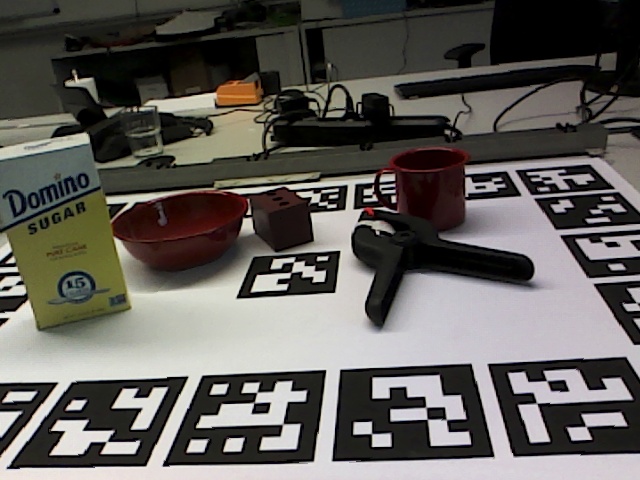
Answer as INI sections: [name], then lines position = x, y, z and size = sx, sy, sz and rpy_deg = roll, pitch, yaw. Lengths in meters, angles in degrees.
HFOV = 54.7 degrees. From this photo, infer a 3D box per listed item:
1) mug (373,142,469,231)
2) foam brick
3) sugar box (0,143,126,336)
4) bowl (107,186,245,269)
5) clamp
[mug]
position = 0.119, -0.066, 0.749
size = 0.118, 0.081, 0.093
rpy_deg = 13, 32, 27
[foam brick]
position = -0.049, -0.024, 0.756
size = 0.052, 0.051, 0.078
rpy_deg = -17, 29, -18
[sugar box]
position = -0.255, 0.001, 0.605
size = 0.092, 0.176, 0.045
rpy_deg = -14, 29, -17
[bowl]
position = -0.167, -0.011, 0.741
size = 0.162, 0.055, 0.162
rpy_deg = -5, 27, 2
[clamp]
position = 0.080, 0.011, 0.647
size = 0.165, 0.036, 0.204
rpy_deg = -16, 29, -13
